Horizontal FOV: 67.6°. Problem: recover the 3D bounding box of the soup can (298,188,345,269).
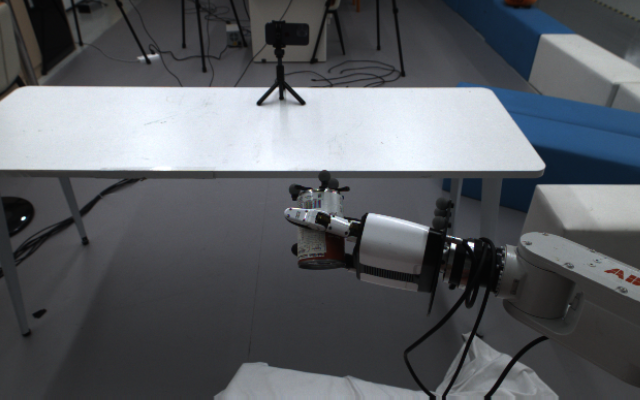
[{"bbox_3d":[0.003,0.042,0.678,0.067,0.067,0.101,-1,71,-5],"label":"soup can"}]
